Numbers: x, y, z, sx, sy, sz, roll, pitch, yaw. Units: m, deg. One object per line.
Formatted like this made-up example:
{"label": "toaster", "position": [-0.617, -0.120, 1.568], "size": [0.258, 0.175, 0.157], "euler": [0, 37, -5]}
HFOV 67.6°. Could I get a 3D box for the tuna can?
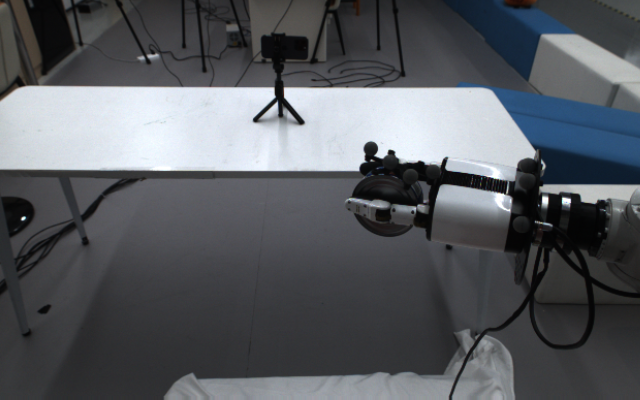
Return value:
{"label": "tuna can", "position": [0.088, -0.001, 0.609], "size": [0.085, 0.085, 0.034], "euler": [15, 29, 18]}
